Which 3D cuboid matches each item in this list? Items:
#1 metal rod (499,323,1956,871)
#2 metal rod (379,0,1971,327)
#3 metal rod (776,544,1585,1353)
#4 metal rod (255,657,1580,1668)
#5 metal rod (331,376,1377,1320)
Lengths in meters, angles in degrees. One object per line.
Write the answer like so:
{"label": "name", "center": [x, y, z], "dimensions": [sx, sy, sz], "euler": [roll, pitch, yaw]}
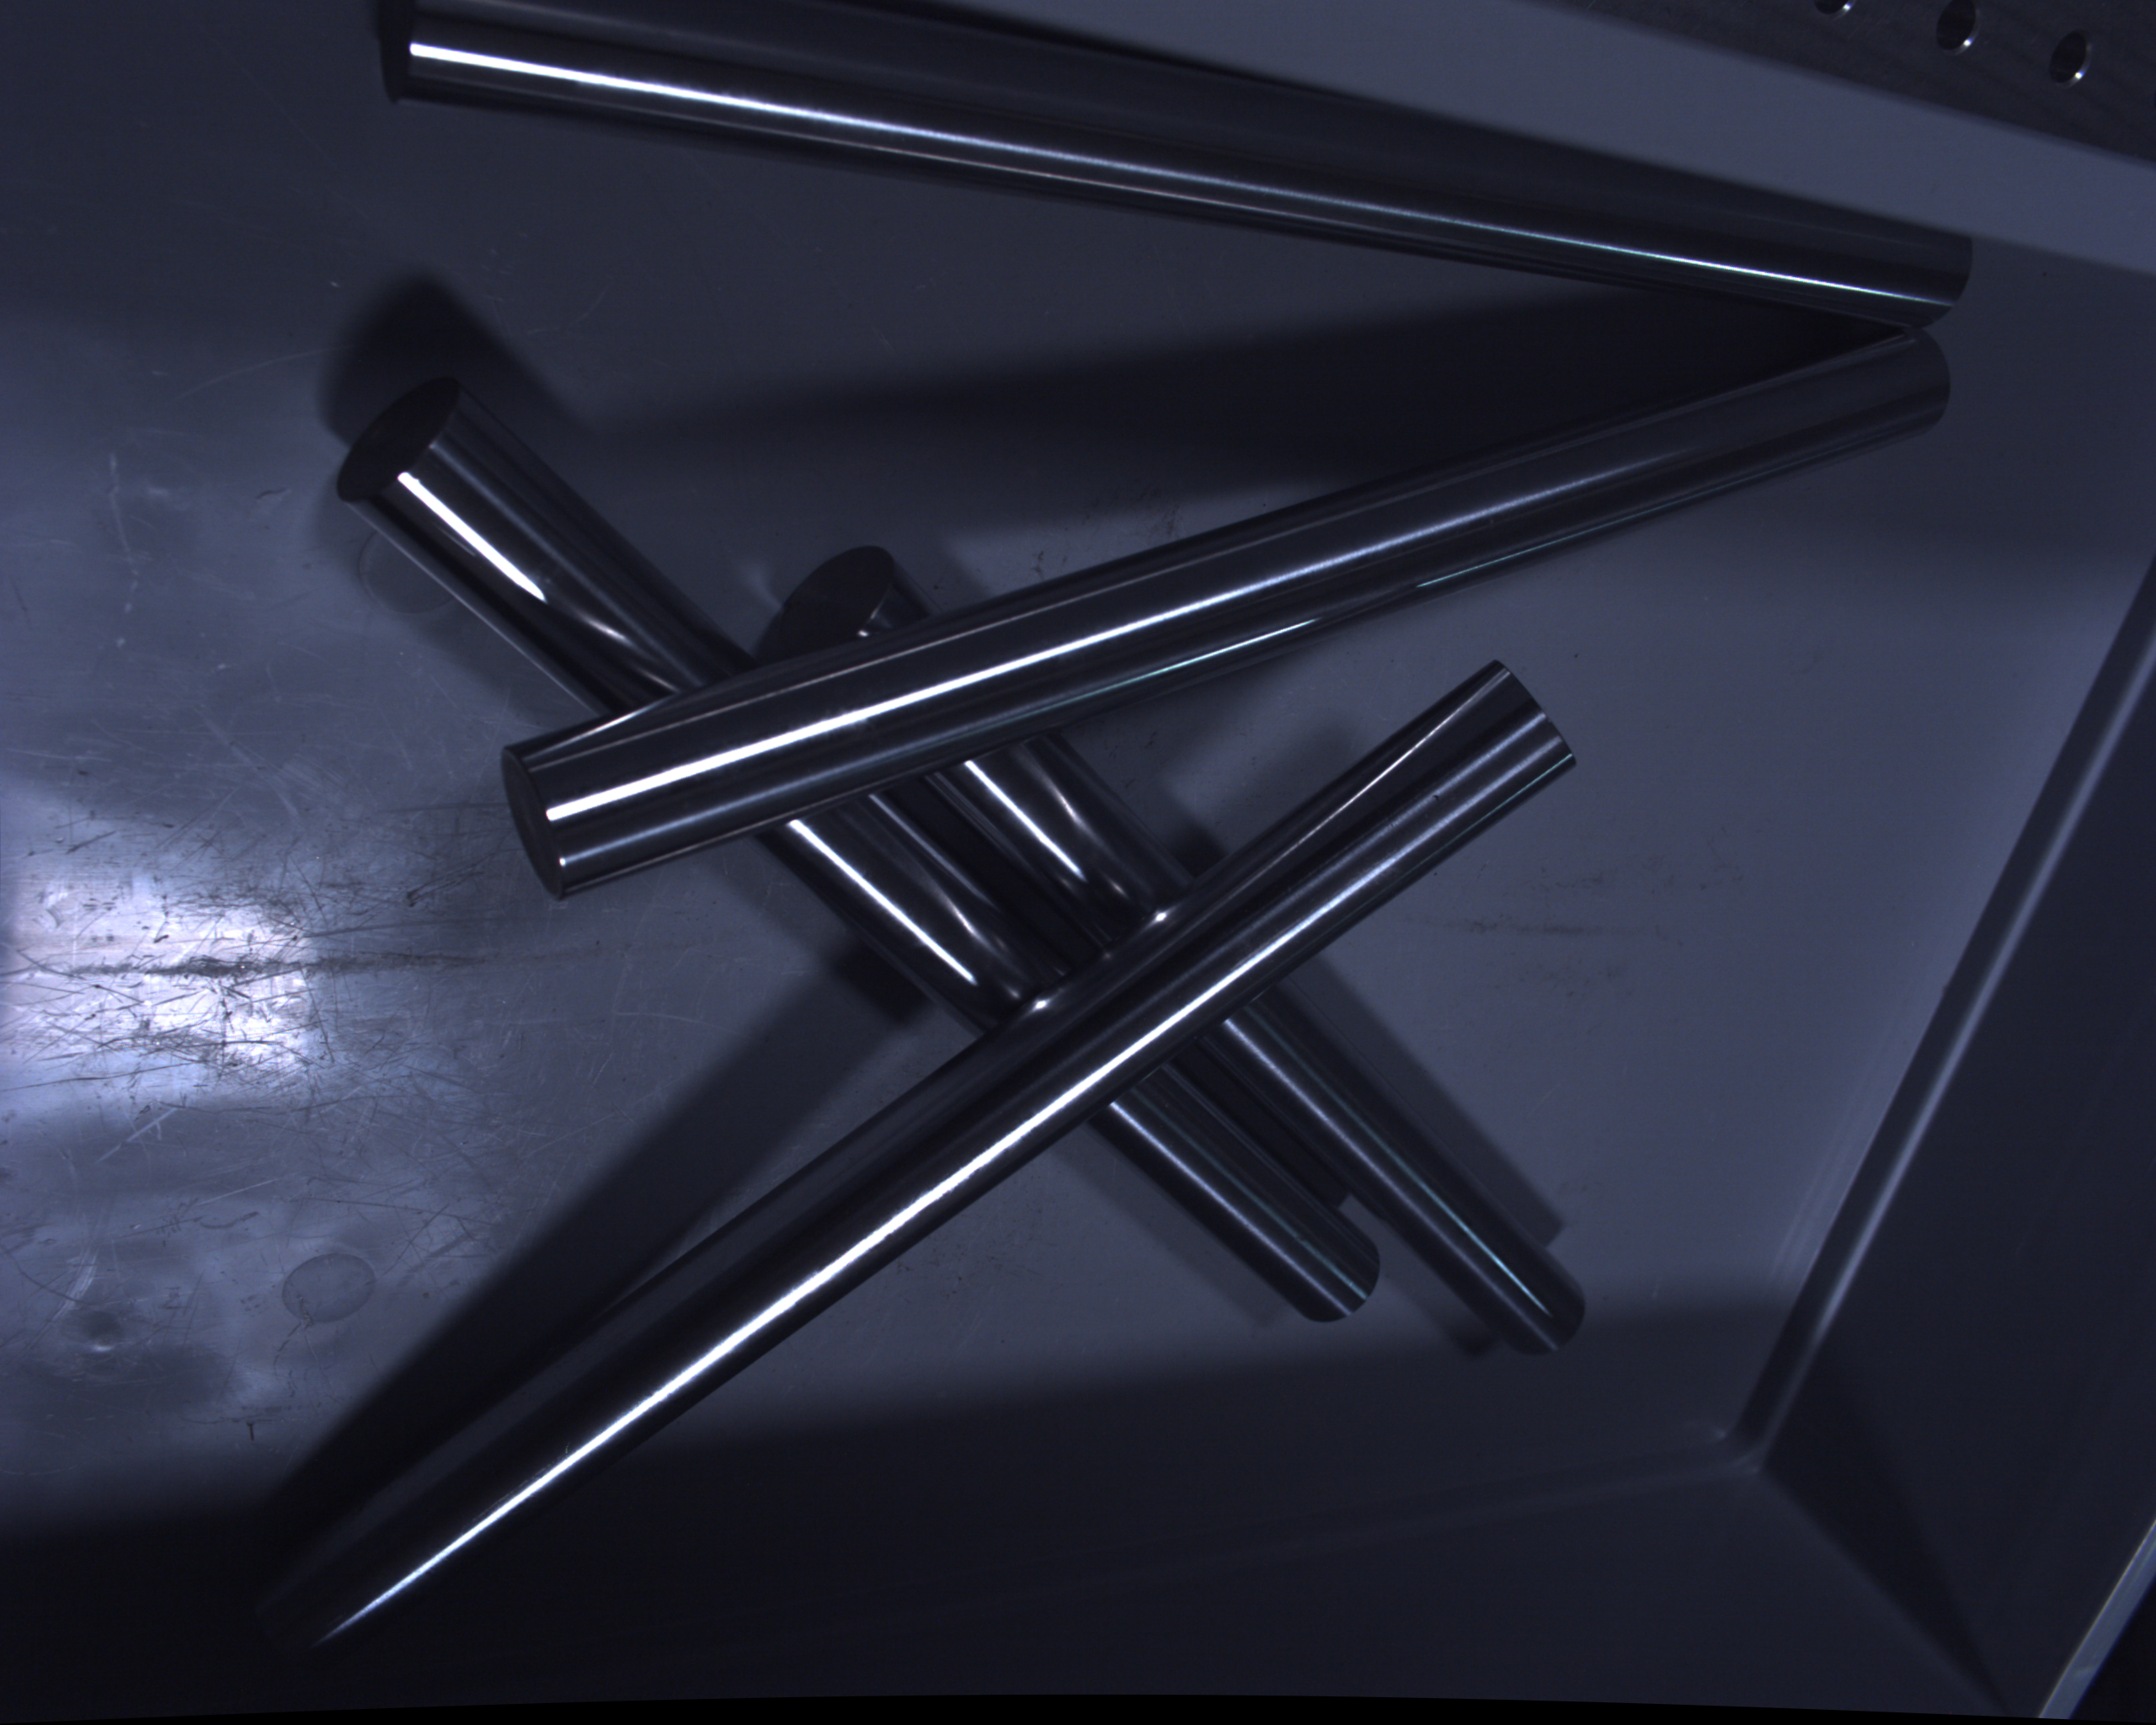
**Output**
{"label": "metal rod", "center": [0.046, -0.058, 0.378], "dimensions": [0.302, 0.025, 0.025], "euler": [-20, 127, -24]}
{"label": "metal rod", "center": [0.040, -0.120, 0.357], "dimensions": [0.303, 0.025, 0.025], "euler": [-1, 119, -28]}
{"label": "metal rod", "center": [0.040, 0.036, 0.454], "dimensions": [0.025, 0.025, 0.300], "euler": [-44, 130, 2]}
{"label": "metal rod", "center": [-0.035, 0.061, 0.401], "dimensions": [0.300, 0.025, 0.025], "euler": [-37, 130, 6]}
{"label": "metal rod", "center": [-0.021, 0.018, 0.409], "dimensions": [0.025, 0.025, 0.300], "euler": [-44, 130, 2]}
